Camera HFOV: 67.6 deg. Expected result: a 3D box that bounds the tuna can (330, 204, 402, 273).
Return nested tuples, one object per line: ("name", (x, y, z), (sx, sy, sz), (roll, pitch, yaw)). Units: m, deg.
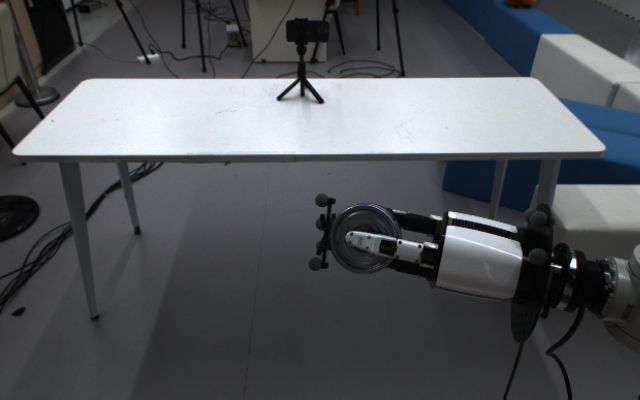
("tuna can", (0.058, 0.049, 0.586), (0.085, 0.085, 0.034), (10, 2, 11))
